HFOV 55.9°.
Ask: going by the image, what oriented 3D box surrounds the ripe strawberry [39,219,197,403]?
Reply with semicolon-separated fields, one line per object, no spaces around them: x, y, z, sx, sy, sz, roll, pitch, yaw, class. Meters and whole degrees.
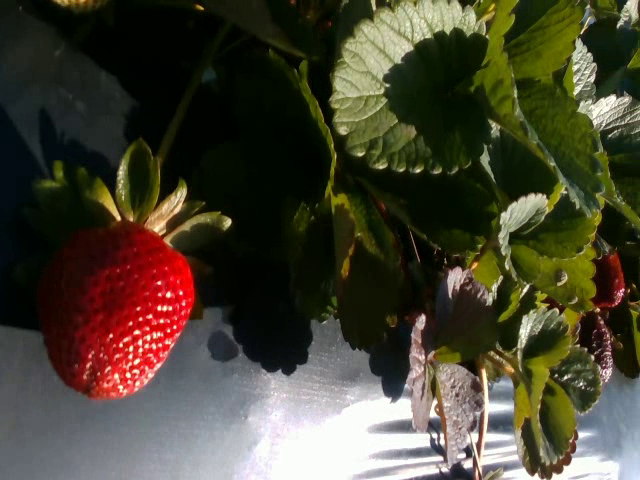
-0.052;0.020;0.141;0.043;0.043;0.050;-22;30;11;ripe strawberry
